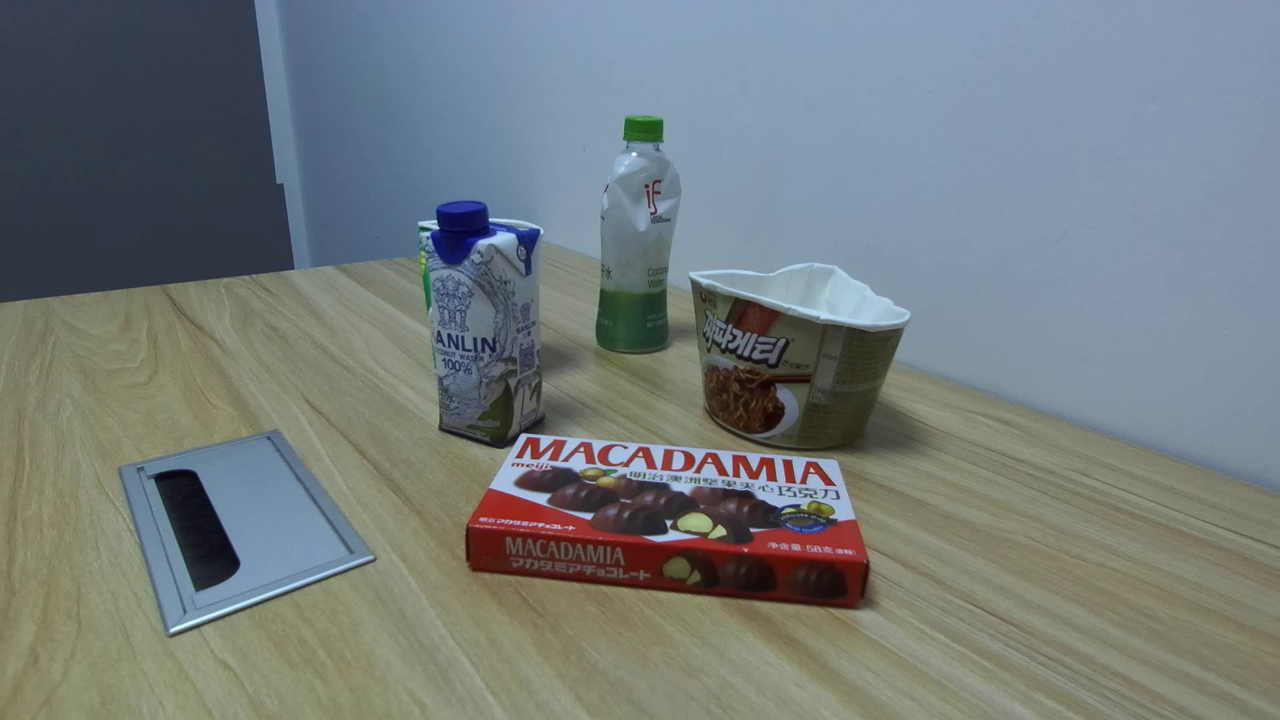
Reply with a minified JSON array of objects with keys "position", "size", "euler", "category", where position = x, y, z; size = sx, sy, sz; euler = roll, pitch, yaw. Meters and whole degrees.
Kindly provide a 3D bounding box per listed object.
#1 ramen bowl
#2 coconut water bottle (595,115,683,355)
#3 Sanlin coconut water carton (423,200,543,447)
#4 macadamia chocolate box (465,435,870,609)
[{"position":[0.107,-0.004,0.465],"size":[0.114,0.097,0.133],"euler":[-7,22,-22],"category":"ramen bowl"},{"position":[-0.002,-0.101,0.580],"size":[0.067,0.187,0.067],"euler":[3,20,-1],"category":"coconut water bottle"},{"position":[-0.095,-0.024,0.435],"size":[0.060,0.144,0.061],"euler":[11,22,24],"category":"Sanlin coconut water carton"},{"position":[0.015,0.076,0.354],"size":[0.178,0.027,0.095],"euler":[5,21,5],"category":"macadamia chocolate box"}]
